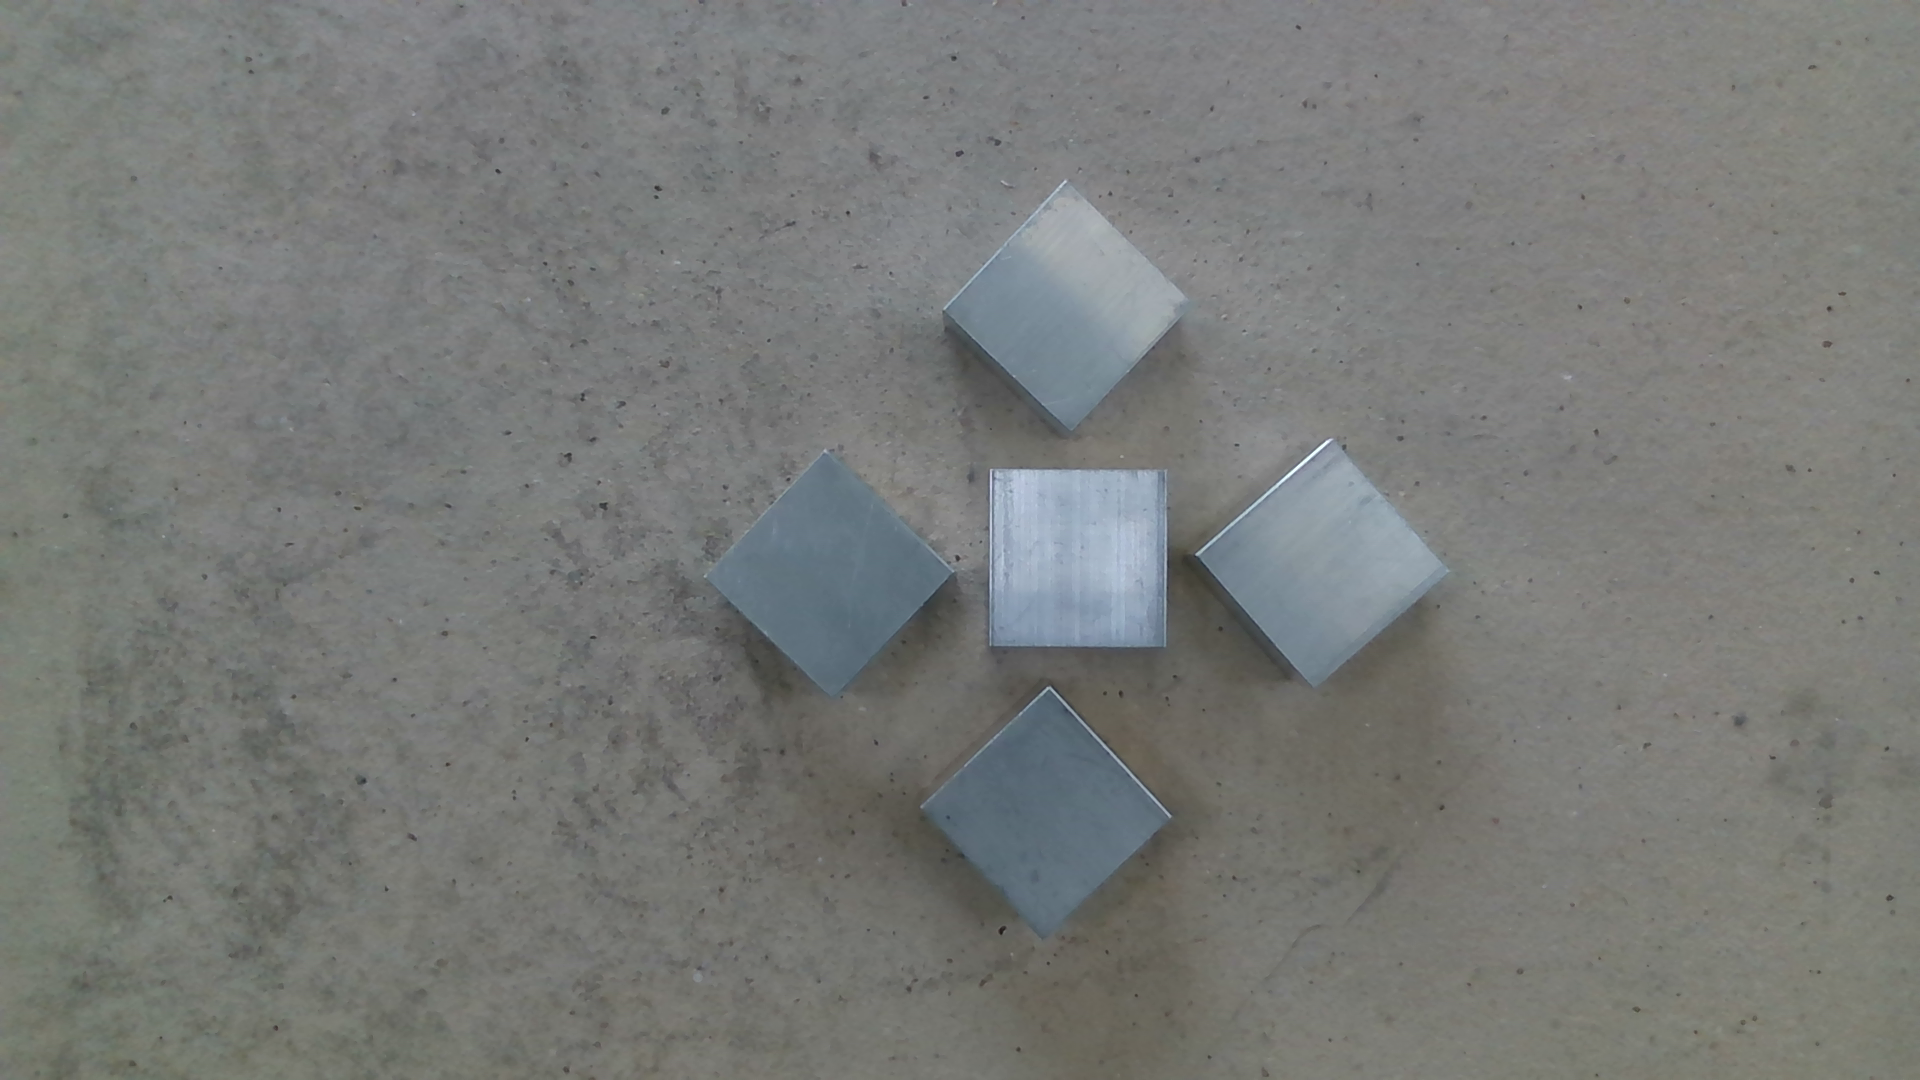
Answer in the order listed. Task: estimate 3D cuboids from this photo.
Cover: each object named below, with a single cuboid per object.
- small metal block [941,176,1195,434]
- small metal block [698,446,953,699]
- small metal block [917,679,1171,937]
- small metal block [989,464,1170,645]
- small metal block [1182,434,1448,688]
[{"bbox_3d":[0.030,-0.066,0.395,0.050,0.025,0.050,43,90,-1],"label":"small metal block"},{"bbox_3d":[-0.037,0.009,0.395,0.050,0.025,0.050,44,90,-1],"label":"small metal block"},{"bbox_3d":[0.023,0.076,0.396,0.050,0.025,0.050,-43,90,0],"label":"small metal block"},{"bbox_3d":[0.033,0.004,0.395,0.050,0.025,0.050,0,90,0],"label":"small metal block"},{"bbox_3d":[0.100,0.006,0.395,0.050,0.025,0.050,-41,91,-1],"label":"small metal block"}]
